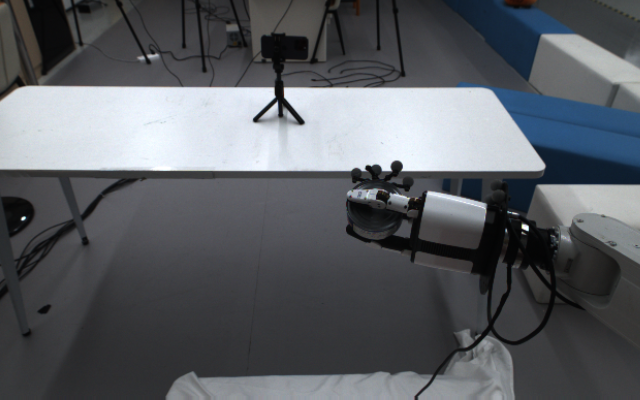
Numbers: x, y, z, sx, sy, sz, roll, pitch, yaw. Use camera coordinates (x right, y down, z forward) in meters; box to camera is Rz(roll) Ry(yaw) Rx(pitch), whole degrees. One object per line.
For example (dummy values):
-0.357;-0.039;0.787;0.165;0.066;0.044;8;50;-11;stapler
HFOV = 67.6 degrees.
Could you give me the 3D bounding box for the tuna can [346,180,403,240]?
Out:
0.081;0.010;0.710;0.085;0.034;0.085;-2;56;3;tuna can
